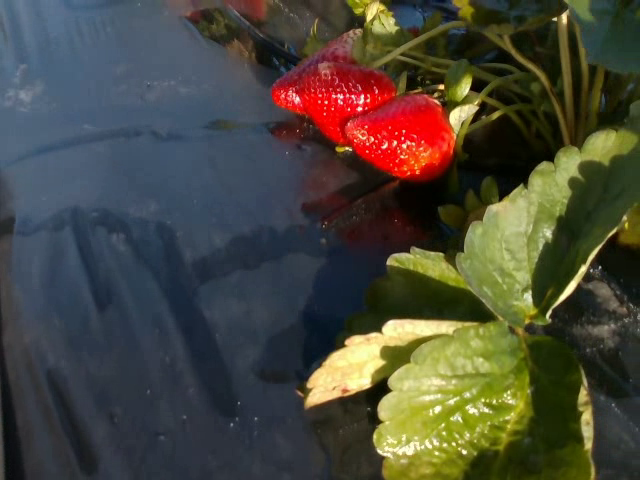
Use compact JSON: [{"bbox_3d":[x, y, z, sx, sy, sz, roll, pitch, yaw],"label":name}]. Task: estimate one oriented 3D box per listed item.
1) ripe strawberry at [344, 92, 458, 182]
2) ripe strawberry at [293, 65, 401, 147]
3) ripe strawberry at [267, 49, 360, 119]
[{"bbox_3d":[0.022,-0.036,0.209,0.041,0.034,0.035,6,29,-36],"label":"ripe strawberry"},{"bbox_3d":[0.009,-0.055,0.226,0.039,0.031,0.037,25,-60,-36],"label":"ripe strawberry"},{"bbox_3d":[0.000,-0.067,0.251,0.045,0.023,0.032,-23,44,-11],"label":"ripe strawberry"}]
